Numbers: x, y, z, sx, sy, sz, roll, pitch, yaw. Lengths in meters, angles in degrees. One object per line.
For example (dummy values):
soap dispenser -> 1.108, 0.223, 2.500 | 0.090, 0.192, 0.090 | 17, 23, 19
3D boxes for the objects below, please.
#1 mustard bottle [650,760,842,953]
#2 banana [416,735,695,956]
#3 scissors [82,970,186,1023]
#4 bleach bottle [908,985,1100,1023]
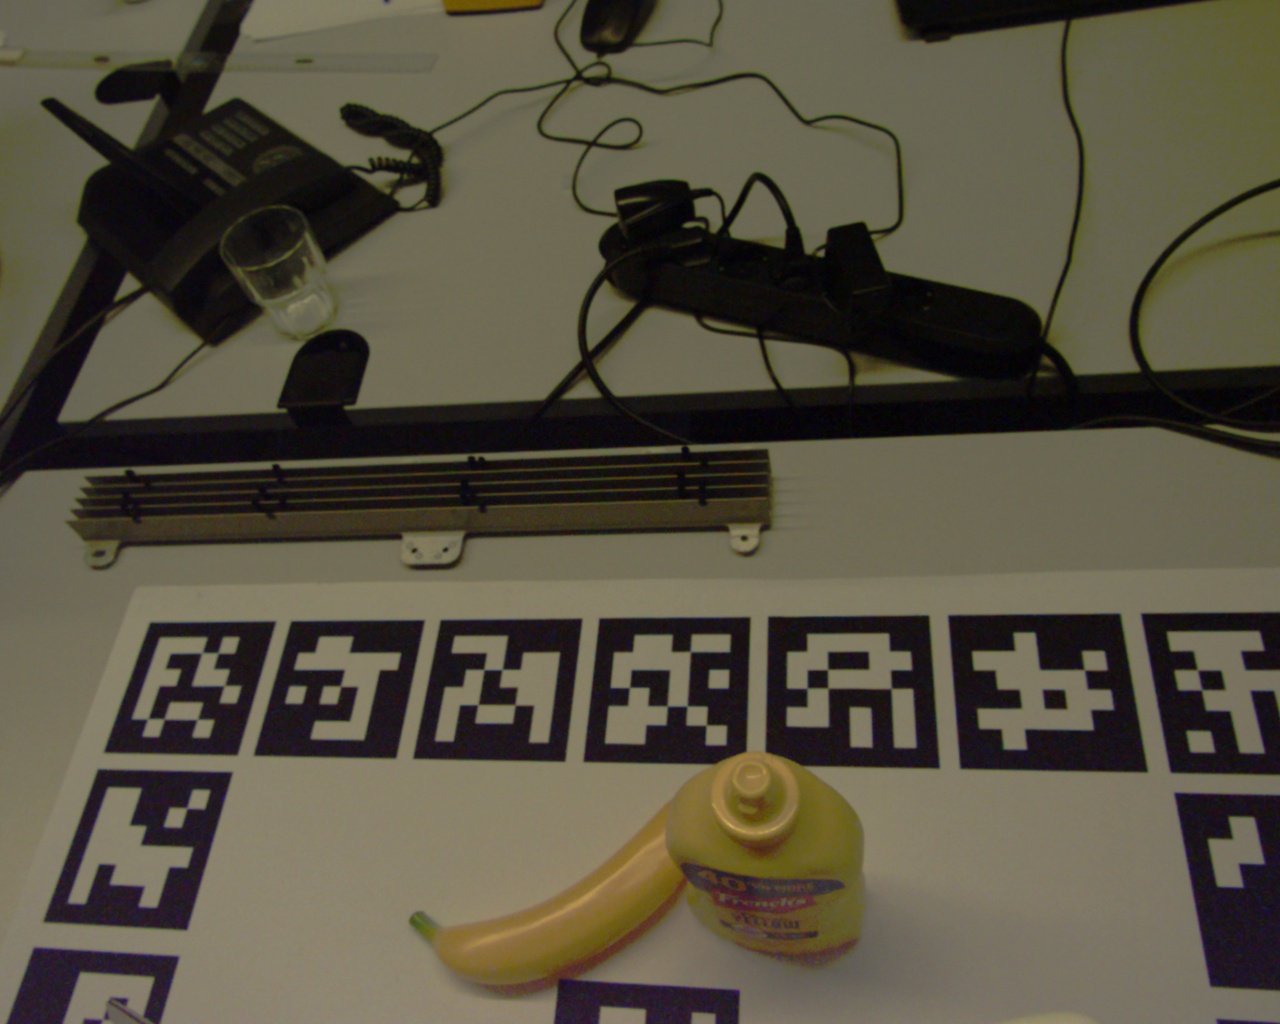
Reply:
mustard bottle -> 0.055, 0.177, 0.596 | 0.097, 0.190, 0.058 | 11, 59, 18
banana -> -0.039, 0.204, 0.678 | 0.196, 0.038, 0.075 | -35, 39, -11
scissors -> -0.204, 0.282, 0.560 | 0.205, 0.016, 0.087 | 23, 68, 20
bleach bottle -> 0.144, 0.264, 0.458 | 0.103, 0.248, 0.068 | -21, 50, 6
